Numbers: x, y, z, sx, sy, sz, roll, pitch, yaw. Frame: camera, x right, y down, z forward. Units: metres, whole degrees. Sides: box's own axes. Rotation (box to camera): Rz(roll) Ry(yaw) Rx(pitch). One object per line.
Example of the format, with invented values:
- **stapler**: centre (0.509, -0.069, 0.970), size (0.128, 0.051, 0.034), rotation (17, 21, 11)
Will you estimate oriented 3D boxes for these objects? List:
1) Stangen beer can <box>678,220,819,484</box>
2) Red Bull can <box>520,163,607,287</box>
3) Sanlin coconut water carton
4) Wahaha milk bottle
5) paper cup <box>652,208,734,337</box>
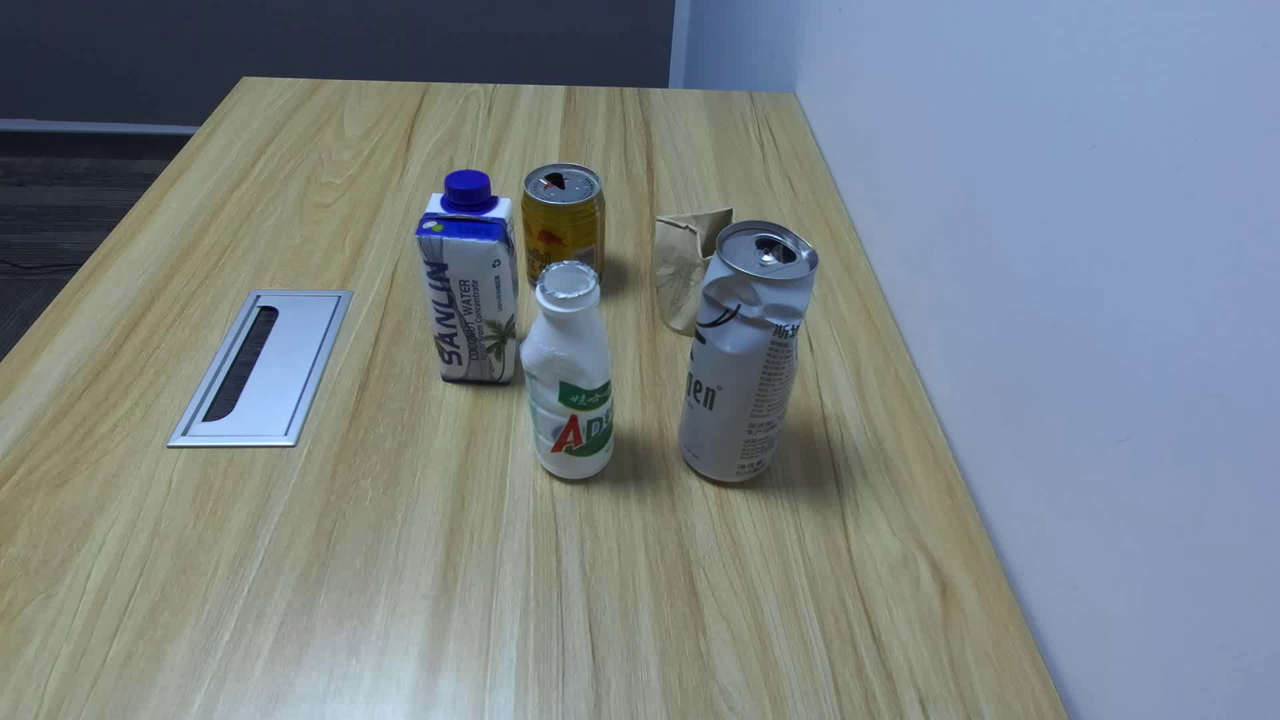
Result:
- **Stangen beer can**: centre (0.062, 0.003, 0.421), size (0.066, 0.166, 0.066), rotation (25, 47, 21)
- **Red Bull can**: centre (-0.061, -0.103, 0.573), size (0.067, 0.093, 0.067), rotation (1, 43, -1)
- **Sanlin coconut water carton**: centre (-0.113, -0.052, 0.481), size (0.060, 0.144, 0.060), rotation (3, 44, -2)
- **Wahaha milk bottle**: centre (-0.040, 0.010, 0.418), size (0.055, 0.149, 0.055), rotation (2, 47, -2)
- **paper cup**: centre (0.038, -0.069, 0.549), size (0.058, 0.083, 0.066), rotation (8, 39, 12)
